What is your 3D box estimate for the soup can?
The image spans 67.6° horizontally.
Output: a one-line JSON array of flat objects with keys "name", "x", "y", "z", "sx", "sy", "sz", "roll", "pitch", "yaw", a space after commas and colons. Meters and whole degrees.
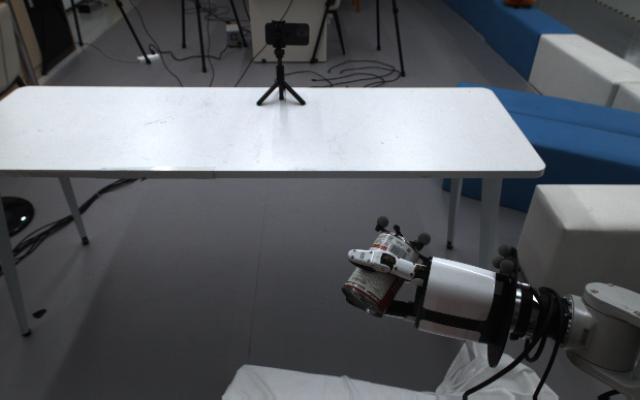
[{"name": "soup can", "x": 0.086, "y": 0.101, "z": 0.678, "sx": 0.067, "sy": 0.067, "sz": 0.101, "roll": 25, "pitch": 67, "yaw": 30}]
